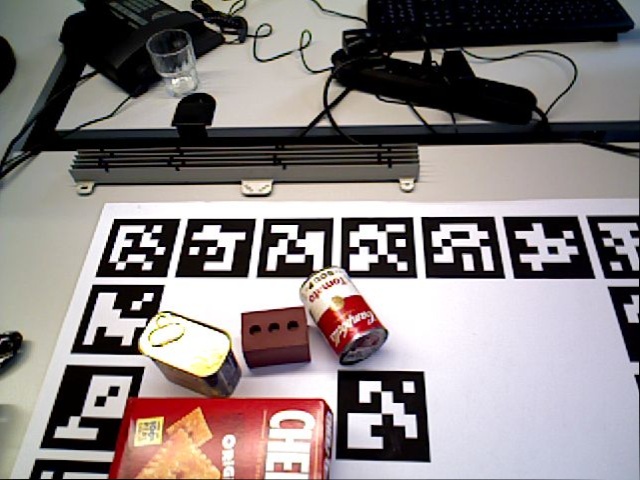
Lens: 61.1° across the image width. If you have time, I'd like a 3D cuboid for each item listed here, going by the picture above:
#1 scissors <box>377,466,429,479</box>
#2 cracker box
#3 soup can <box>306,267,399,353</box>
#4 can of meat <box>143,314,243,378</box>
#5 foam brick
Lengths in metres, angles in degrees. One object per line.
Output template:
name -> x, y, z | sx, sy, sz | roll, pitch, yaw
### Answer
scissors -> 0.019, 0.274, 0.539 | 0.202, 0.016, 0.086 | -4, 57, 3
cracker box -> -0.096, 0.227, 0.543 | 0.213, 0.073, 0.162 | -6, 56, 6
soup can -> 0.038, 0.076, 0.658 | 0.067, 0.069, 0.101 | -32, 54, -16
can of meat -> -0.142, 0.115, 0.629 | 0.102, 0.085, 0.057 | 12, 59, 12
foam brick -> -0.045, 0.099, 0.653 | 0.078, 0.052, 0.052 | -8, 57, -1
